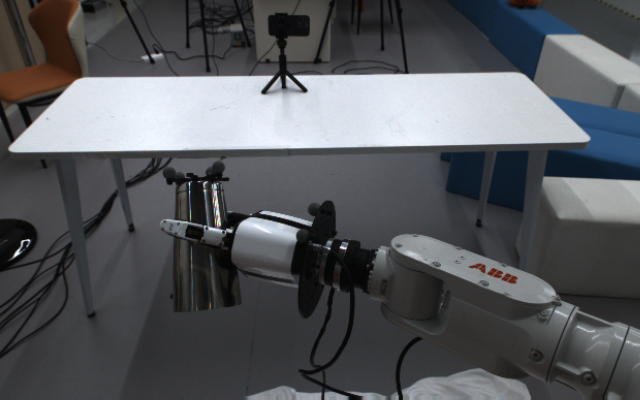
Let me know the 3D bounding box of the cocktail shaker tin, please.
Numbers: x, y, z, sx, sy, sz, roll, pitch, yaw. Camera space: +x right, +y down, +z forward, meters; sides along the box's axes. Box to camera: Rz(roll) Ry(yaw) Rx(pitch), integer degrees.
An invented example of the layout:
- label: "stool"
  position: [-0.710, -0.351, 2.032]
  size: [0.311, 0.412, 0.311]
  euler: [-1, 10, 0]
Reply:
- label: "cocktail shaker tin"
  position: [-0.162, 0.065, 0.670]
  size: [0.093, 0.170, 0.093]
  euler: [-6, -8, -1]
